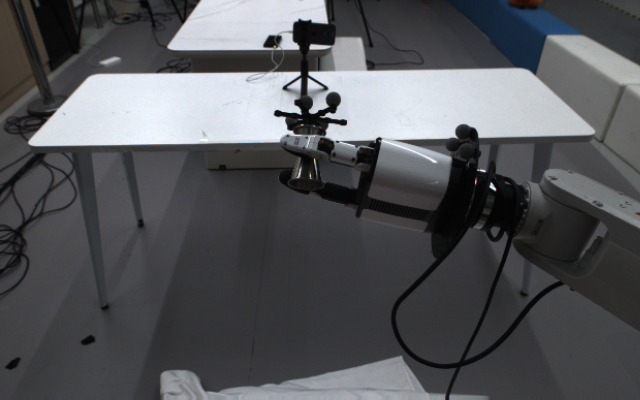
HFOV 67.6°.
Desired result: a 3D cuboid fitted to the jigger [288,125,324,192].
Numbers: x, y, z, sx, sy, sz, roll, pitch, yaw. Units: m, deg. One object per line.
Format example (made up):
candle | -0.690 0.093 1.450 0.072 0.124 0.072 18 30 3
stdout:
jigger | -0.015 -0.051 0.577 0.043 0.043 0.071 3 75 1
